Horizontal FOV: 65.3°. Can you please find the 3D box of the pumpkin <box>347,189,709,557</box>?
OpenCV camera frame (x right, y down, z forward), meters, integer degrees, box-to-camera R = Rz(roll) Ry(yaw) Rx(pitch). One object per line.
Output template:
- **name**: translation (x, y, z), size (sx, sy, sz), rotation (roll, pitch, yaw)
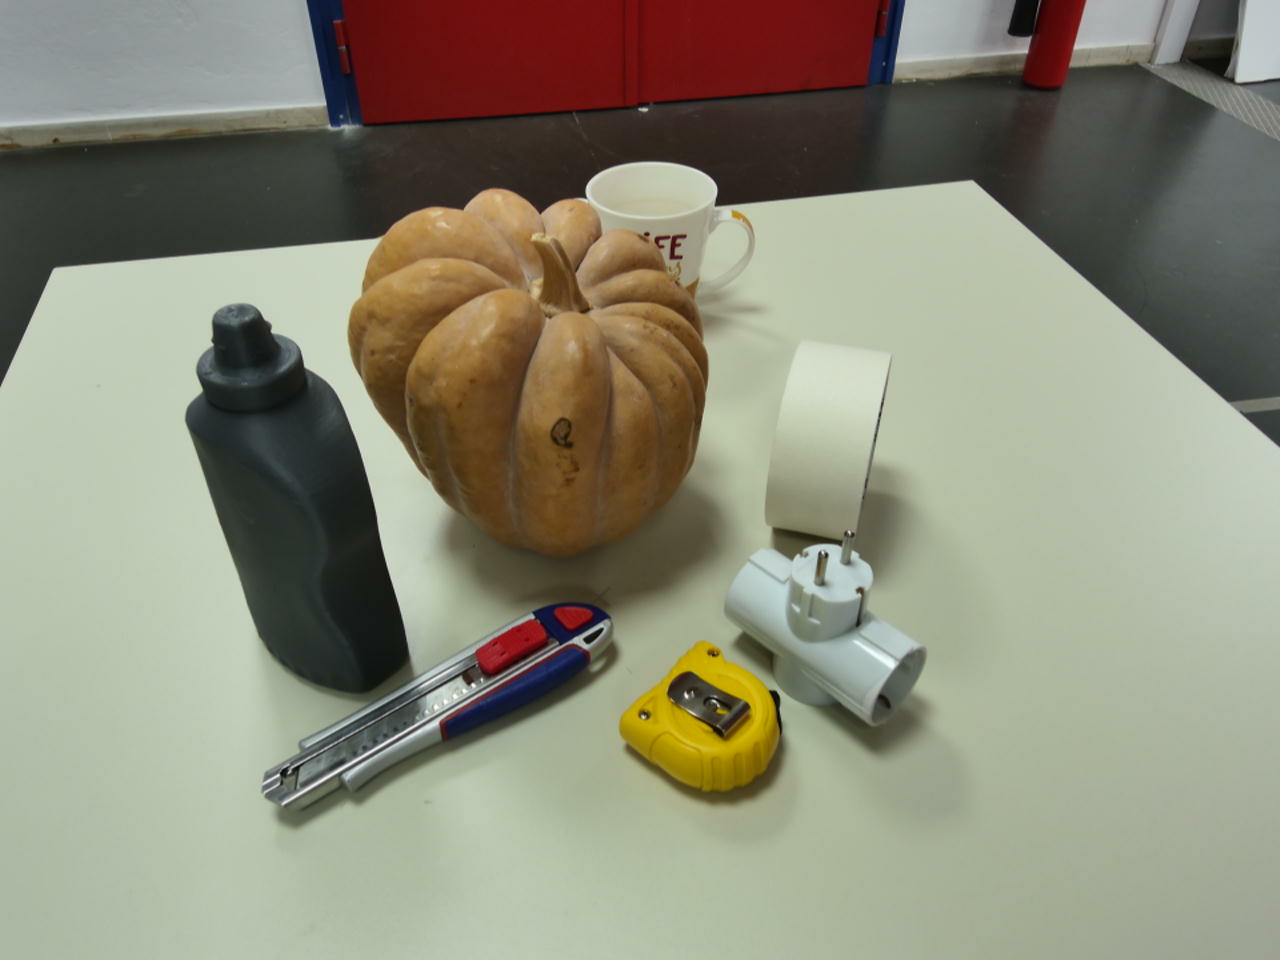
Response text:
- **pumpkin**: translation (-0.056, -0.056, 0.540), size (0.199, 0.177, 0.198), rotation (0, 39, 0)
